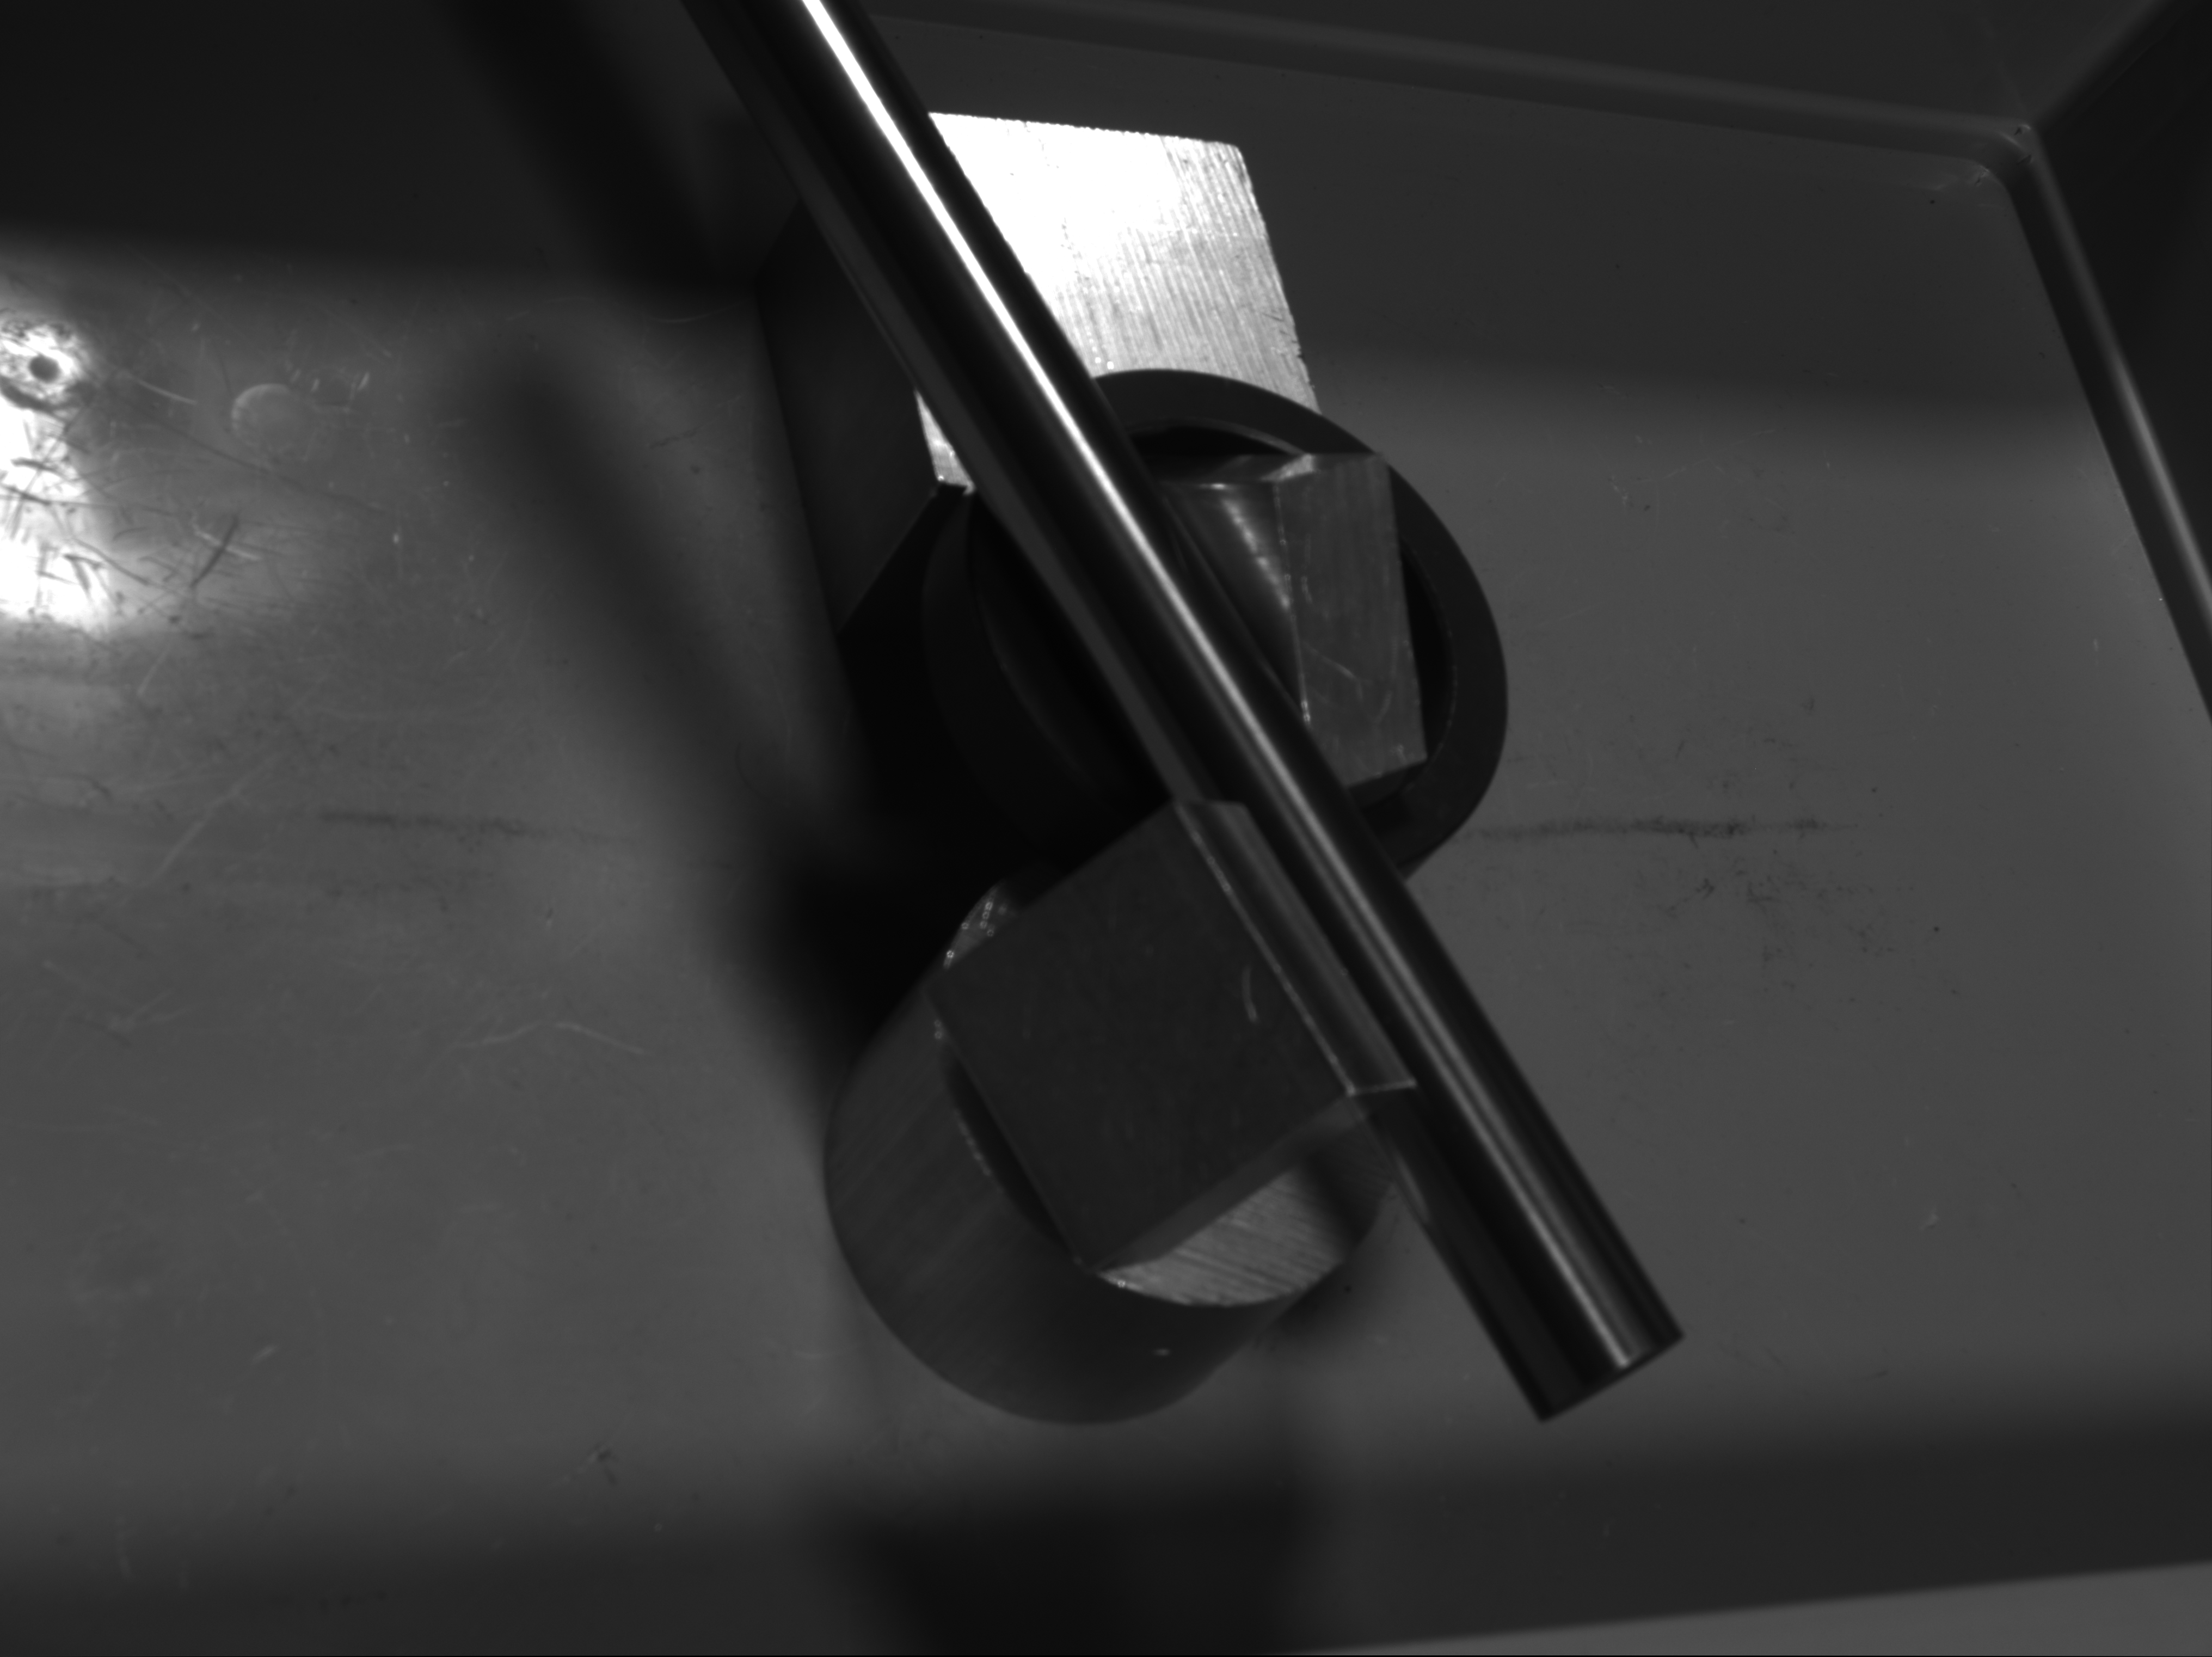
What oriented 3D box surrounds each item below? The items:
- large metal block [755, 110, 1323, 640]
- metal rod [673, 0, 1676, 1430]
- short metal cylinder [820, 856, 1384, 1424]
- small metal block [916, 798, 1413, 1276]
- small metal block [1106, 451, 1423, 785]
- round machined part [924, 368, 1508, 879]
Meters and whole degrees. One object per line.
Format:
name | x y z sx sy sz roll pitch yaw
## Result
large metal block | -0.011 -0.081 0.664 0.080 0.050 0.080 0 62 -28
metal rod | -0.001 -0.043 0.574 0.025 0.025 0.300 -20 73 -36
short metal cylinder | 0.000 0.050 0.593 0.080 0.050 0.080 14 56 -21
small metal block | 0.008 0.031 0.541 0.050 0.050 0.025 59 20 15
small metal block | 0.022 -0.034 0.593 0.025 0.050 0.050 -19 106 -39
round machined part | 0.015 -0.025 0.613 0.098 0.042 0.098 14 56 -21
